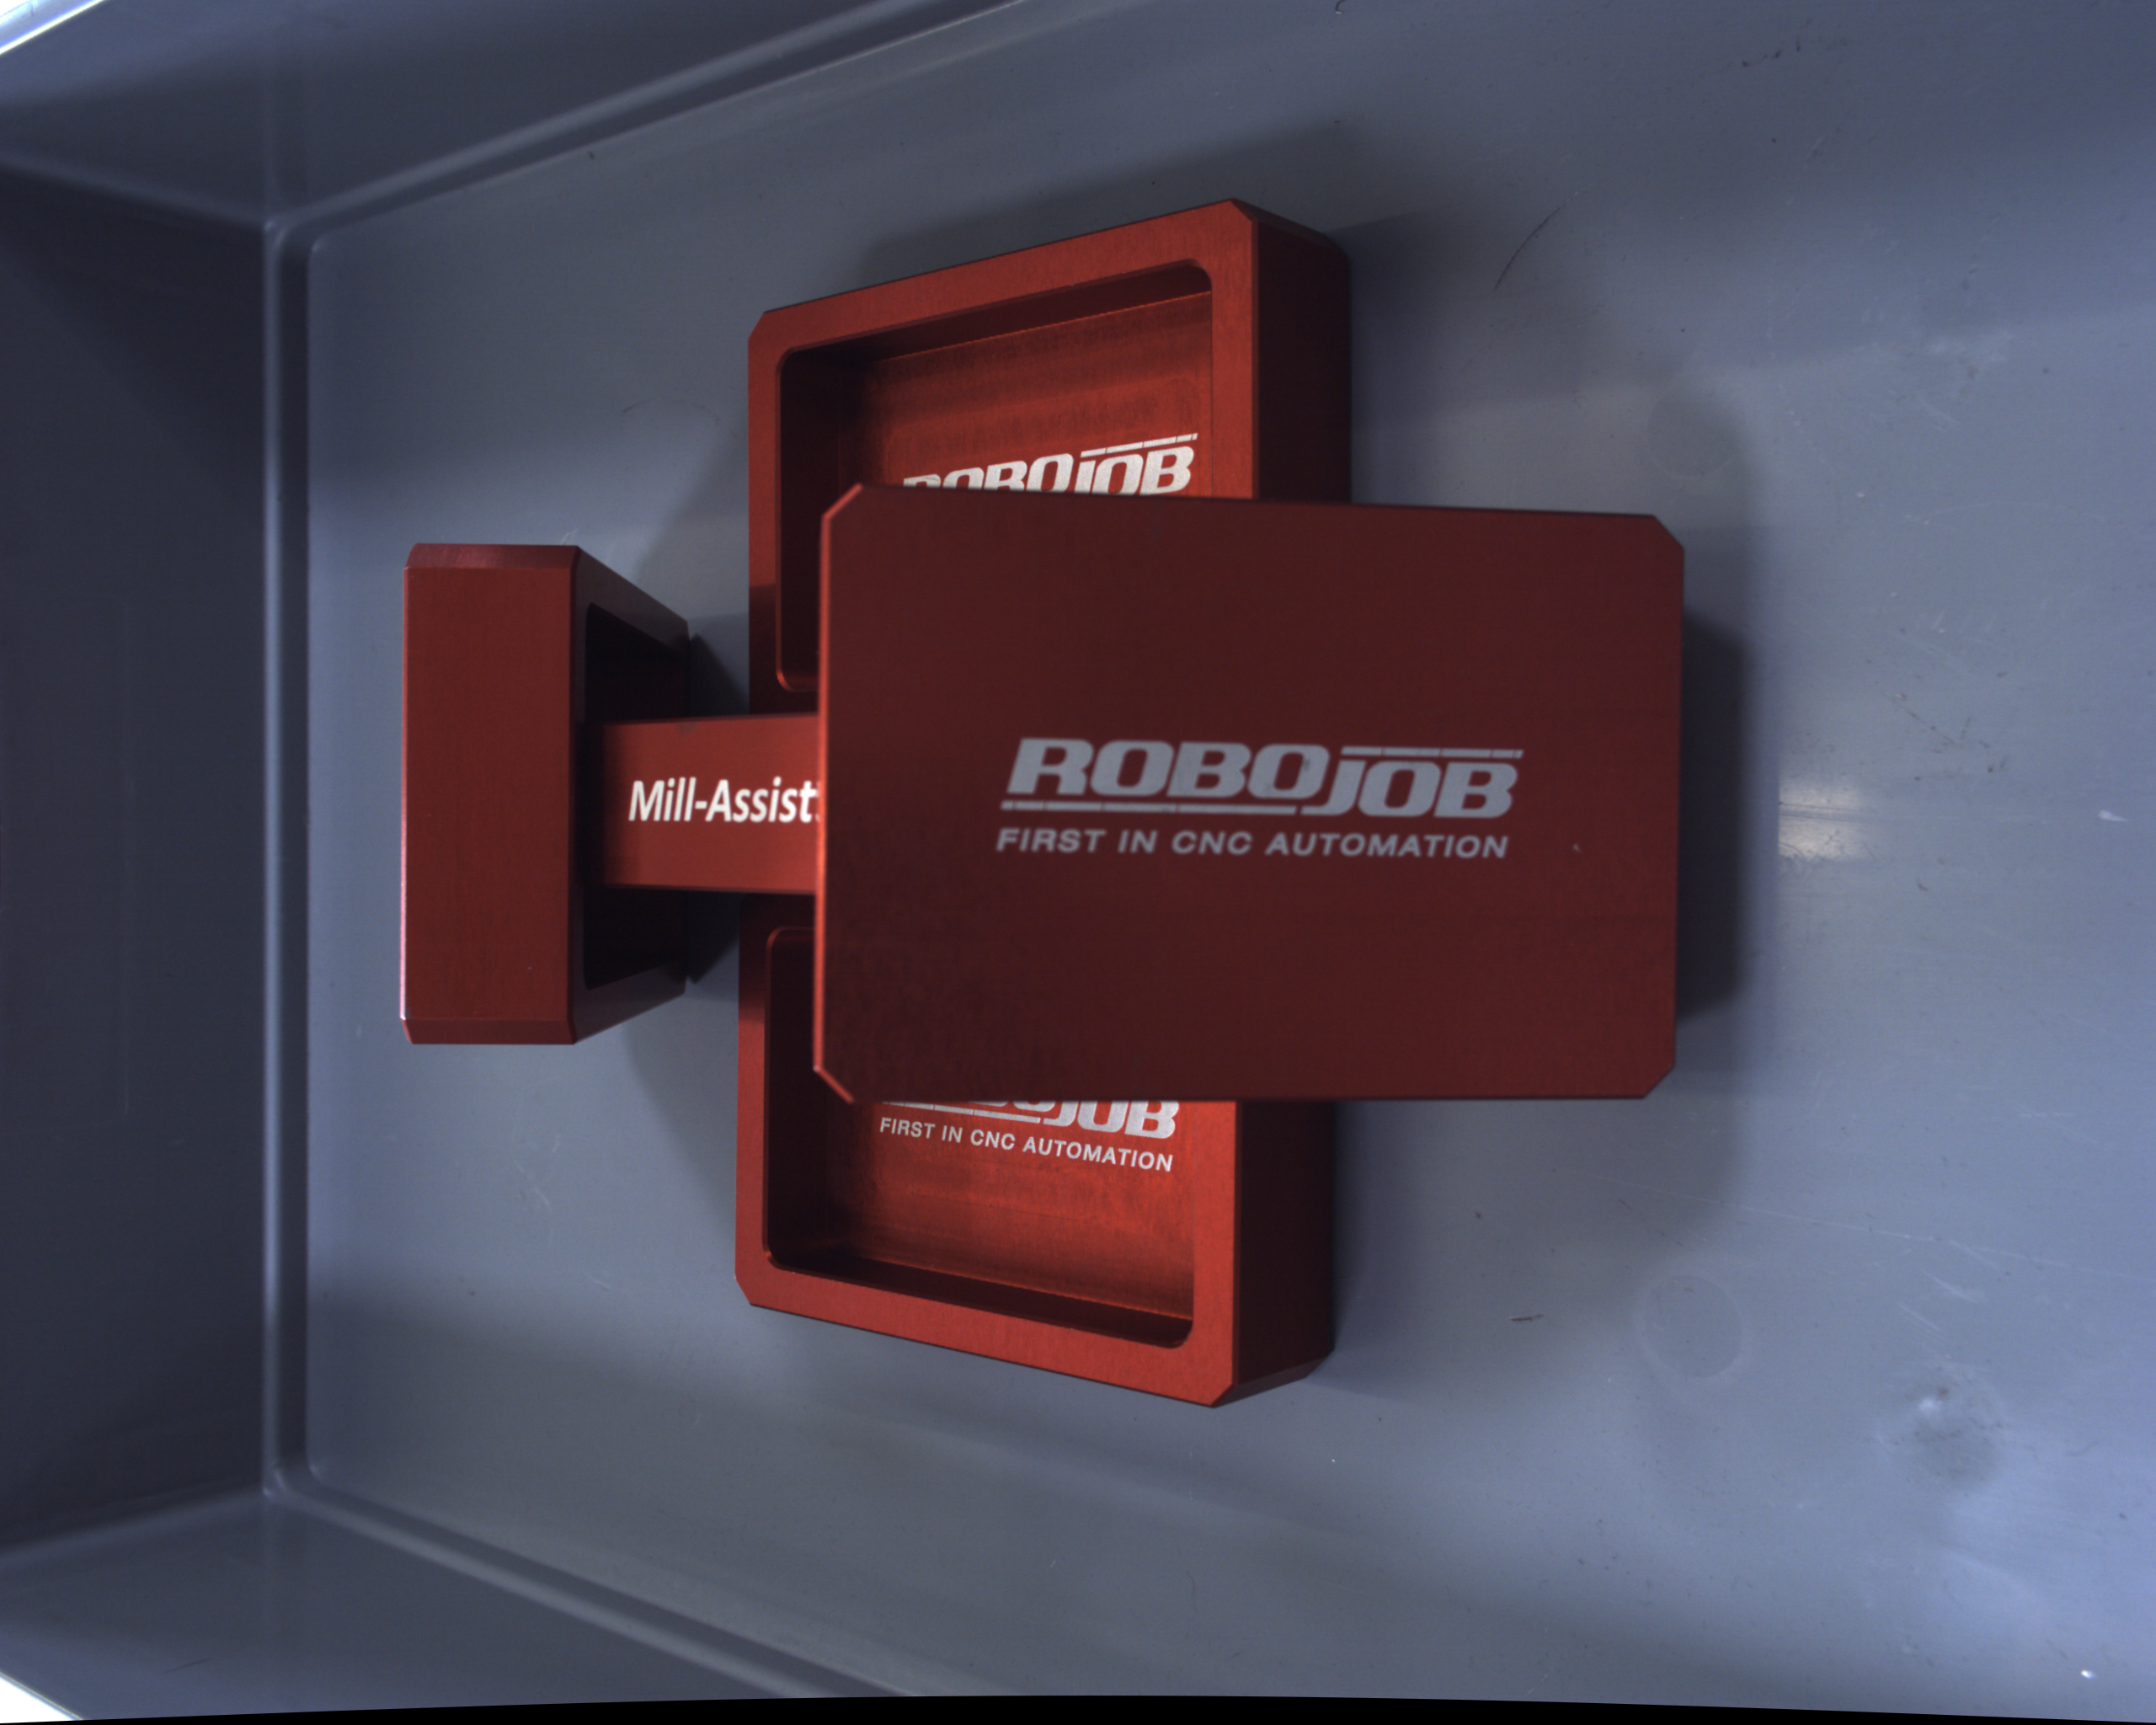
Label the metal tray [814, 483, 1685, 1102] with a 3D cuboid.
[{"bbox_3d":[0.026,-0.009,0.324,0.030,0.131,0.089,-177,87,-82],"label":"metal tray"}]

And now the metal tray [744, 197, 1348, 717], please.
[{"bbox_3d":[-0.010,-0.071,0.410,0.130,0.030,0.089,0,91,39],"label":"metal tray"}]

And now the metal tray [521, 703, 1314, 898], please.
[{"bbox_3d":[-0.033,-0.010,0.390,0.130,0.091,0.030,1,91,39],"label":"metal tray"}]

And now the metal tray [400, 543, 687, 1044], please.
[{"bbox_3d":[-0.106,-0.013,0.433,0.030,0.130,0.089,1,90,-2],"label":"metal tray"}]

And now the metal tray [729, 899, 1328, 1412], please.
[{"bbox_3d":[-0.014,0.050,0.411,0.130,0.030,0.089,1,90,39],"label":"metal tray"}]
